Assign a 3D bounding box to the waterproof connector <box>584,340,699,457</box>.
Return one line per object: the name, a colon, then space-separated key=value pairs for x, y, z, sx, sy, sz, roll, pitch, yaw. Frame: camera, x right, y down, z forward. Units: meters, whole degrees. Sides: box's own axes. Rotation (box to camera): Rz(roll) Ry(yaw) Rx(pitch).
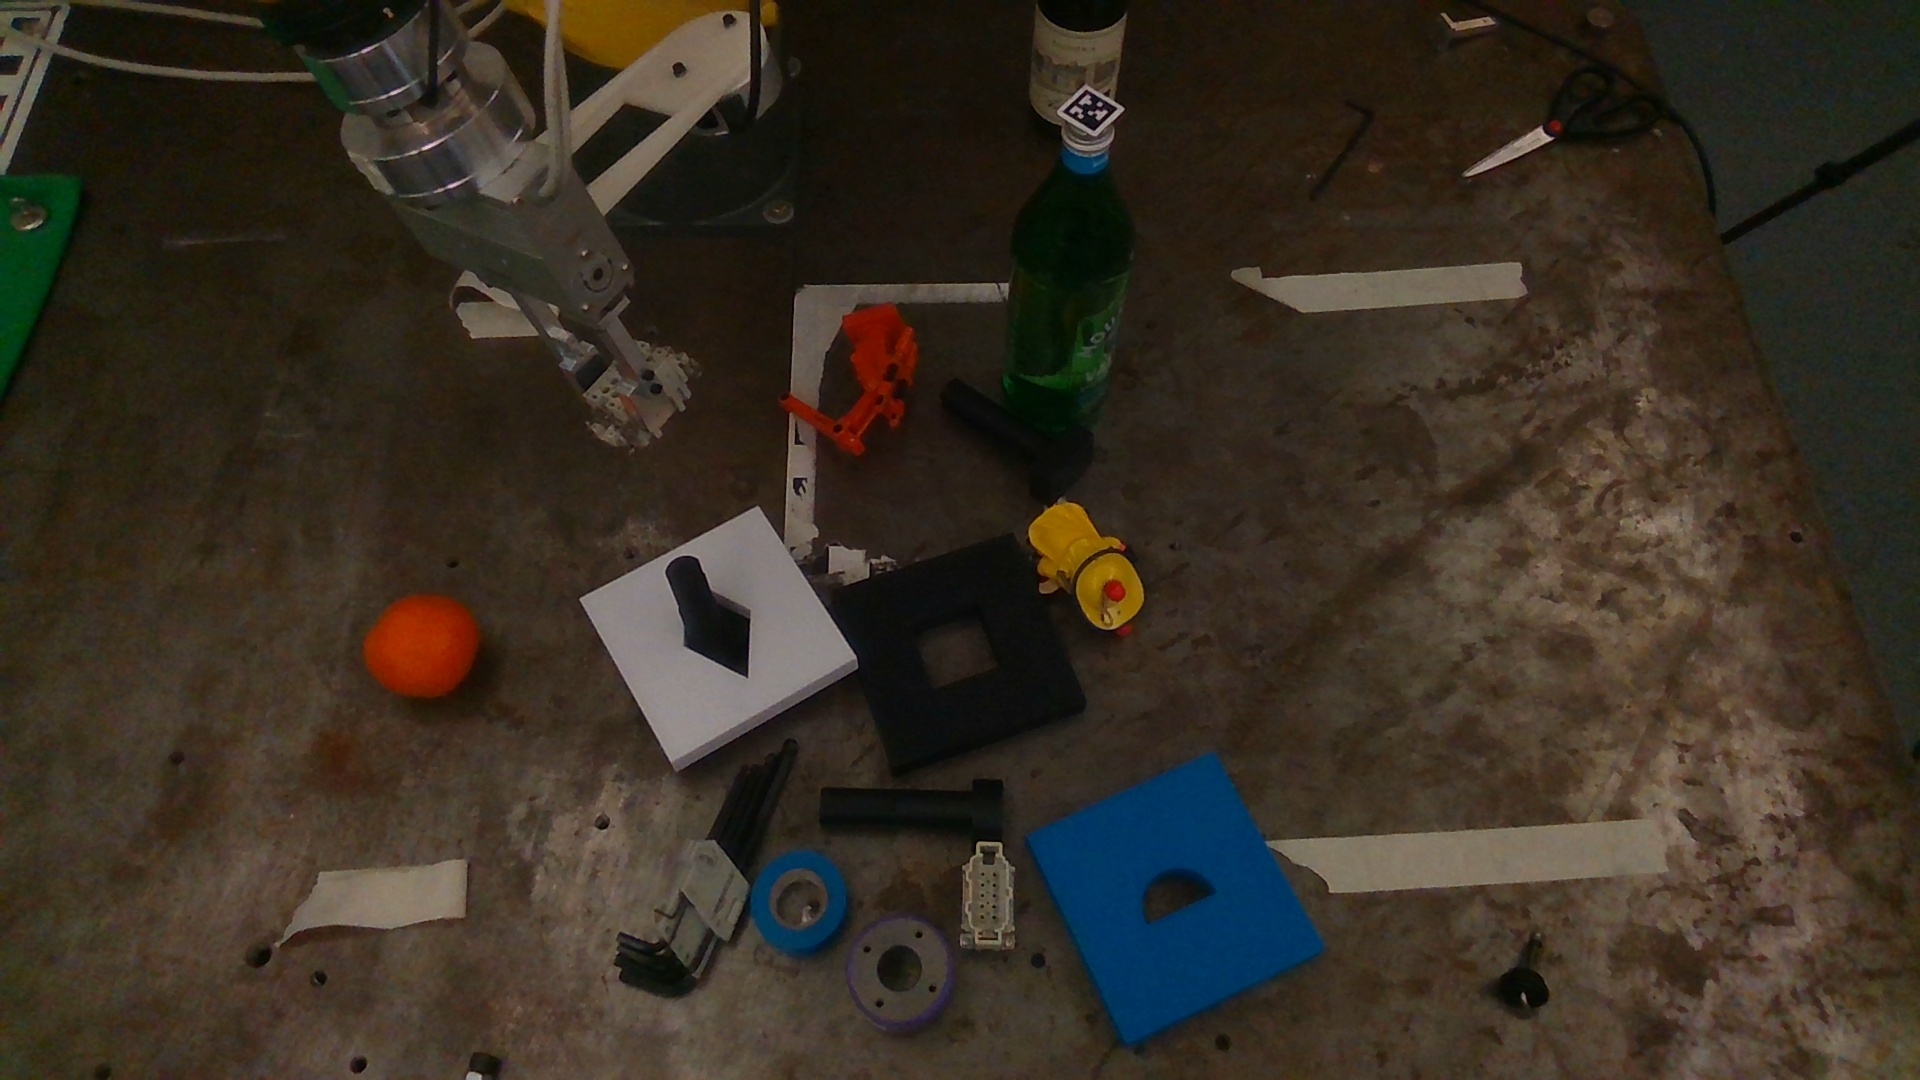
waterproof connector: x=-0.182 y=-0.082 z=0.791 sx=0.037 sy=0.038 sz=0.069 roll=22 pitch=70 yaw=27
